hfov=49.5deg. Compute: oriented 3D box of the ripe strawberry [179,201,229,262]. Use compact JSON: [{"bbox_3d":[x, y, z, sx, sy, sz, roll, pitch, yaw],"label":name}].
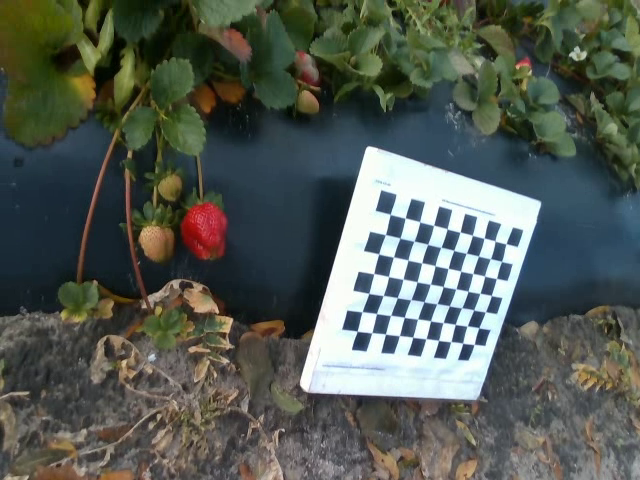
[{"bbox_3d":[-0.110,-0.008,0.705,0.067,0.075,0.052,-10,21,-32],"label":"ripe strawberry"}]
